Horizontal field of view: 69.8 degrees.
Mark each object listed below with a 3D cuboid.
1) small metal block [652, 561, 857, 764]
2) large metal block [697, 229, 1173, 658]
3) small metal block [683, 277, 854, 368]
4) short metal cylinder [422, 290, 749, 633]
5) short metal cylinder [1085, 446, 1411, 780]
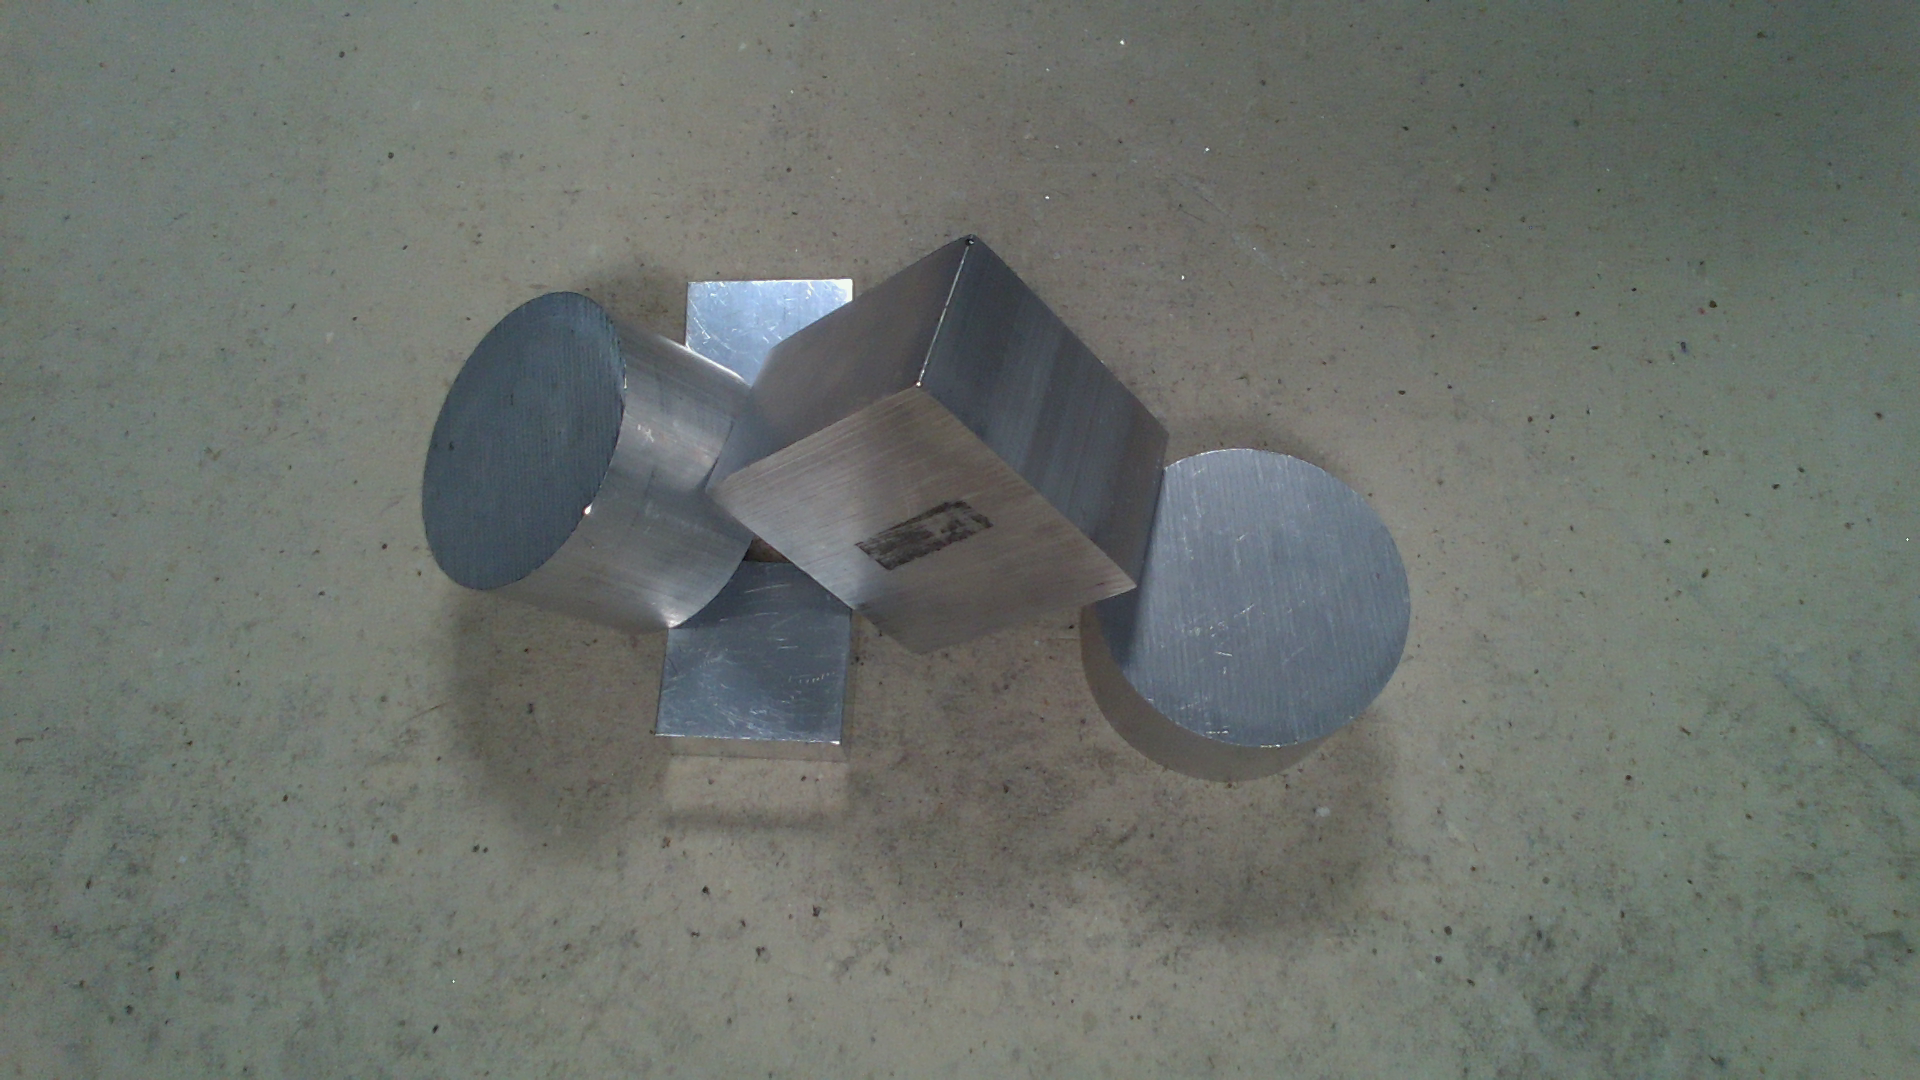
[{"bbox_3d":[-0.055,0.034,0.382,0.050,0.025,0.050,3,70,1],"label":"small metal block"},{"bbox_3d":[-0.005,-0.020,0.353,0.080,0.080,0.050,41,48,-29],"label":"large metal block"},{"bbox_3d":[-0.056,-0.050,0.413,0.050,0.025,0.050,-1,70,0],"label":"small metal block"},{"bbox_3d":[-0.098,-0.020,0.369,0.080,0.050,0.080,-13,67,34],"label":"short metal cylinder"},{"bbox_3d":[0.075,0.021,0.374,0.080,0.050,0.080,0,70,0],"label":"short metal cylinder"}]
